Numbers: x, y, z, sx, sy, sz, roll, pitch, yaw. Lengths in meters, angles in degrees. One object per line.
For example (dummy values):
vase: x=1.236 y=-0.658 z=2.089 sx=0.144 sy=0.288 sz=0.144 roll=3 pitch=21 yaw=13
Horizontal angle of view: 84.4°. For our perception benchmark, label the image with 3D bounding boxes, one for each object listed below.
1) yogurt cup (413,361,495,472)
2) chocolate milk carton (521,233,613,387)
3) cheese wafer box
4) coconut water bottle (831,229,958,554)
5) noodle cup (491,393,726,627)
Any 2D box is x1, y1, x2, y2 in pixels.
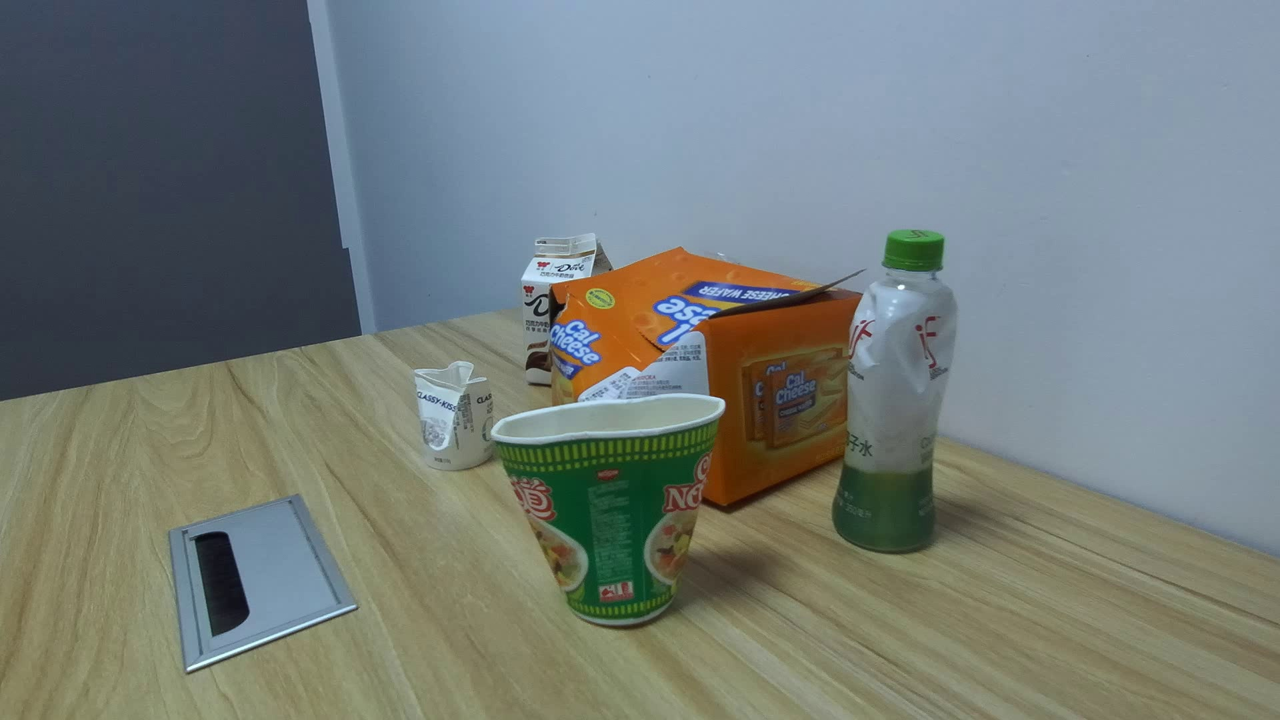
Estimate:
yogurt cup: x=-0.126 y=0.042 z=0.565 sx=0.055 sy=0.072 sz=0.055 roll=-4 pitch=18 yaw=9
chocolate milk carton: x=-0.070 y=-0.055 z=0.719 sx=0.075 sy=0.148 sz=0.074 roll=9 pitch=25 yaw=19
cheese wafer box: x=0.035 y=-0.002 z=0.562 sx=0.192 sy=0.145 sz=0.218 roll=-15 pitch=23 yaw=-35
coconut water bottle: x=0.154 y=0.019 z=0.421 sx=0.067 sy=0.187 sz=0.067 roll=0 pitch=18 yaw=0
noodle cup: x=-0.013 y=0.077 z=0.381 sx=0.115 sy=0.111 sz=0.070 roll=2 pitch=21 yaw=10
